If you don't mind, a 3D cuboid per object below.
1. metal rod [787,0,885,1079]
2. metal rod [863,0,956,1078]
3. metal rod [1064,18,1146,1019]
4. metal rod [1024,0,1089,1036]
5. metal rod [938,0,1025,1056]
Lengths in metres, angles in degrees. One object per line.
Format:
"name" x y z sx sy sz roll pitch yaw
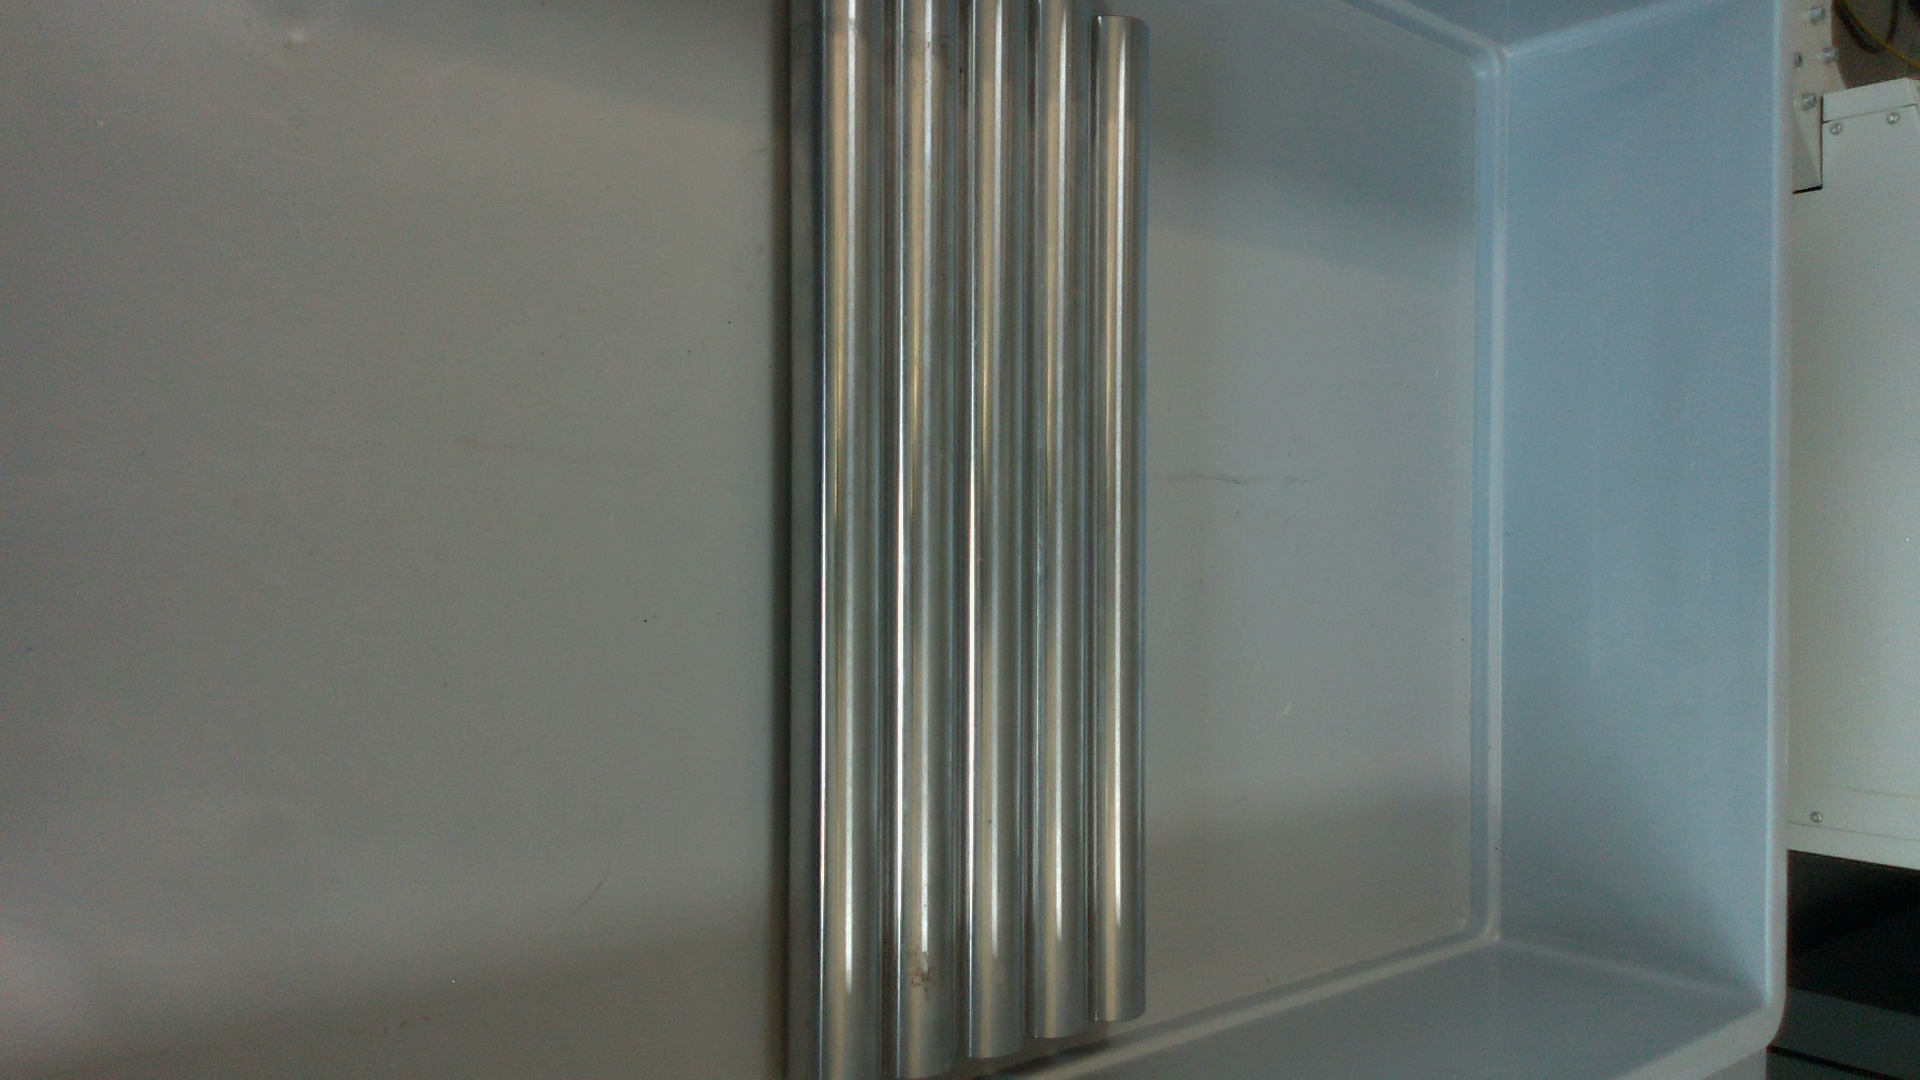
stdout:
"metal rod" -0.032 -0.007 0.361 0.025 0.025 0.300 0 90 -40
"metal rod" -0.014 -0.008 0.376 0.025 0.025 0.300 0 90 -40
"metal rod" 0.045 -0.006 0.425 0.025 0.025 0.300 0 90 -40
"metal rod" 0.025 -0.007 0.409 0.025 0.025 0.300 0 90 -40
"metal rod" 0.006 -0.007 0.392 0.025 0.025 0.300 0 90 -40
